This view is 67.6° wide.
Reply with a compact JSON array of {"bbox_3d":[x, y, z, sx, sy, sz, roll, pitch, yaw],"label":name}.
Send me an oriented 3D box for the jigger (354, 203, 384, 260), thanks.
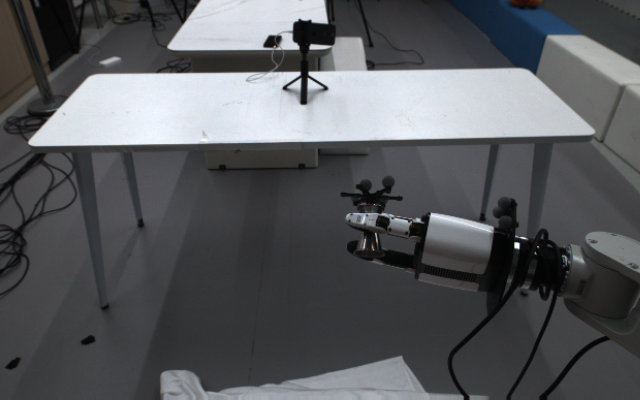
[{"bbox_3d":[0.068,0.042,0.683,0.043,0.043,0.071,4,71,3],"label":"jigger"}]
